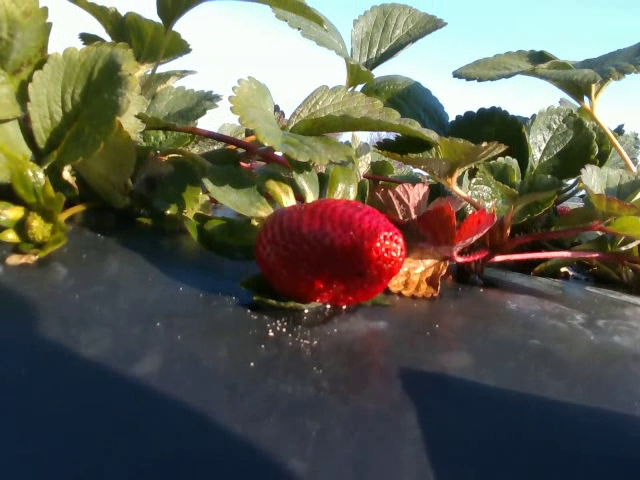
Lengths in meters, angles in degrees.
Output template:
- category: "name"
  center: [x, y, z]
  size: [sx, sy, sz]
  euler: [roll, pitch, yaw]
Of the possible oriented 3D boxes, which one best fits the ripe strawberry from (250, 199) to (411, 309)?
- category: "ripe strawberry"
  center: [0.005, 0.001, 0.166]
  size: [0.040, 0.041, 0.056]
  euler: [-27, 9, -26]
